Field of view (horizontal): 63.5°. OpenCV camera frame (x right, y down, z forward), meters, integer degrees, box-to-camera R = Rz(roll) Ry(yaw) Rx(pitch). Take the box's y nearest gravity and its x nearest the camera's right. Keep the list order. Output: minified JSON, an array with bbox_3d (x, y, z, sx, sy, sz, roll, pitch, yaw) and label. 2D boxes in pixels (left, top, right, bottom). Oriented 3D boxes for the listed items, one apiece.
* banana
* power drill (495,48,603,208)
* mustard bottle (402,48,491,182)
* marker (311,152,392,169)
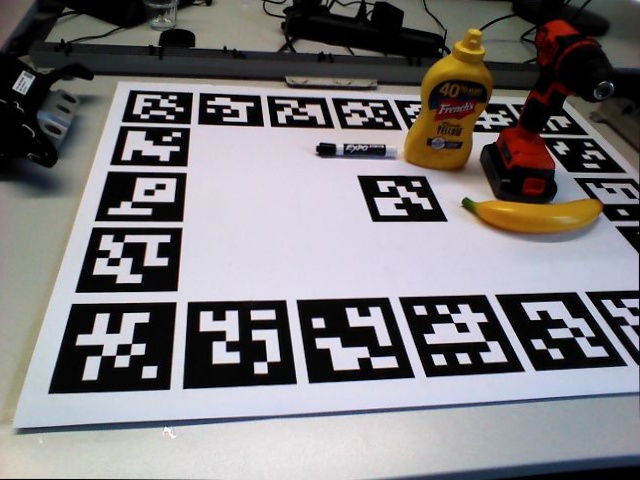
[{"bbox_3d":[0.282,-0.008,0.682,0.198,0.039,0.074,5,45,-1],"label":"banana"},{"bbox_3d":[0.295,-0.137,0.679,0.057,0.188,0.183,11,41,0],"label":"power drill"},{"bbox_3d":[0.182,-0.172,0.722,0.096,0.192,0.058,9,44,-1],"label":"mustard bottle"},{"bbox_3d":[0.047,-0.119,0.772,0.121,0.020,0.019,2,45,-6],"label":"marker"}]
